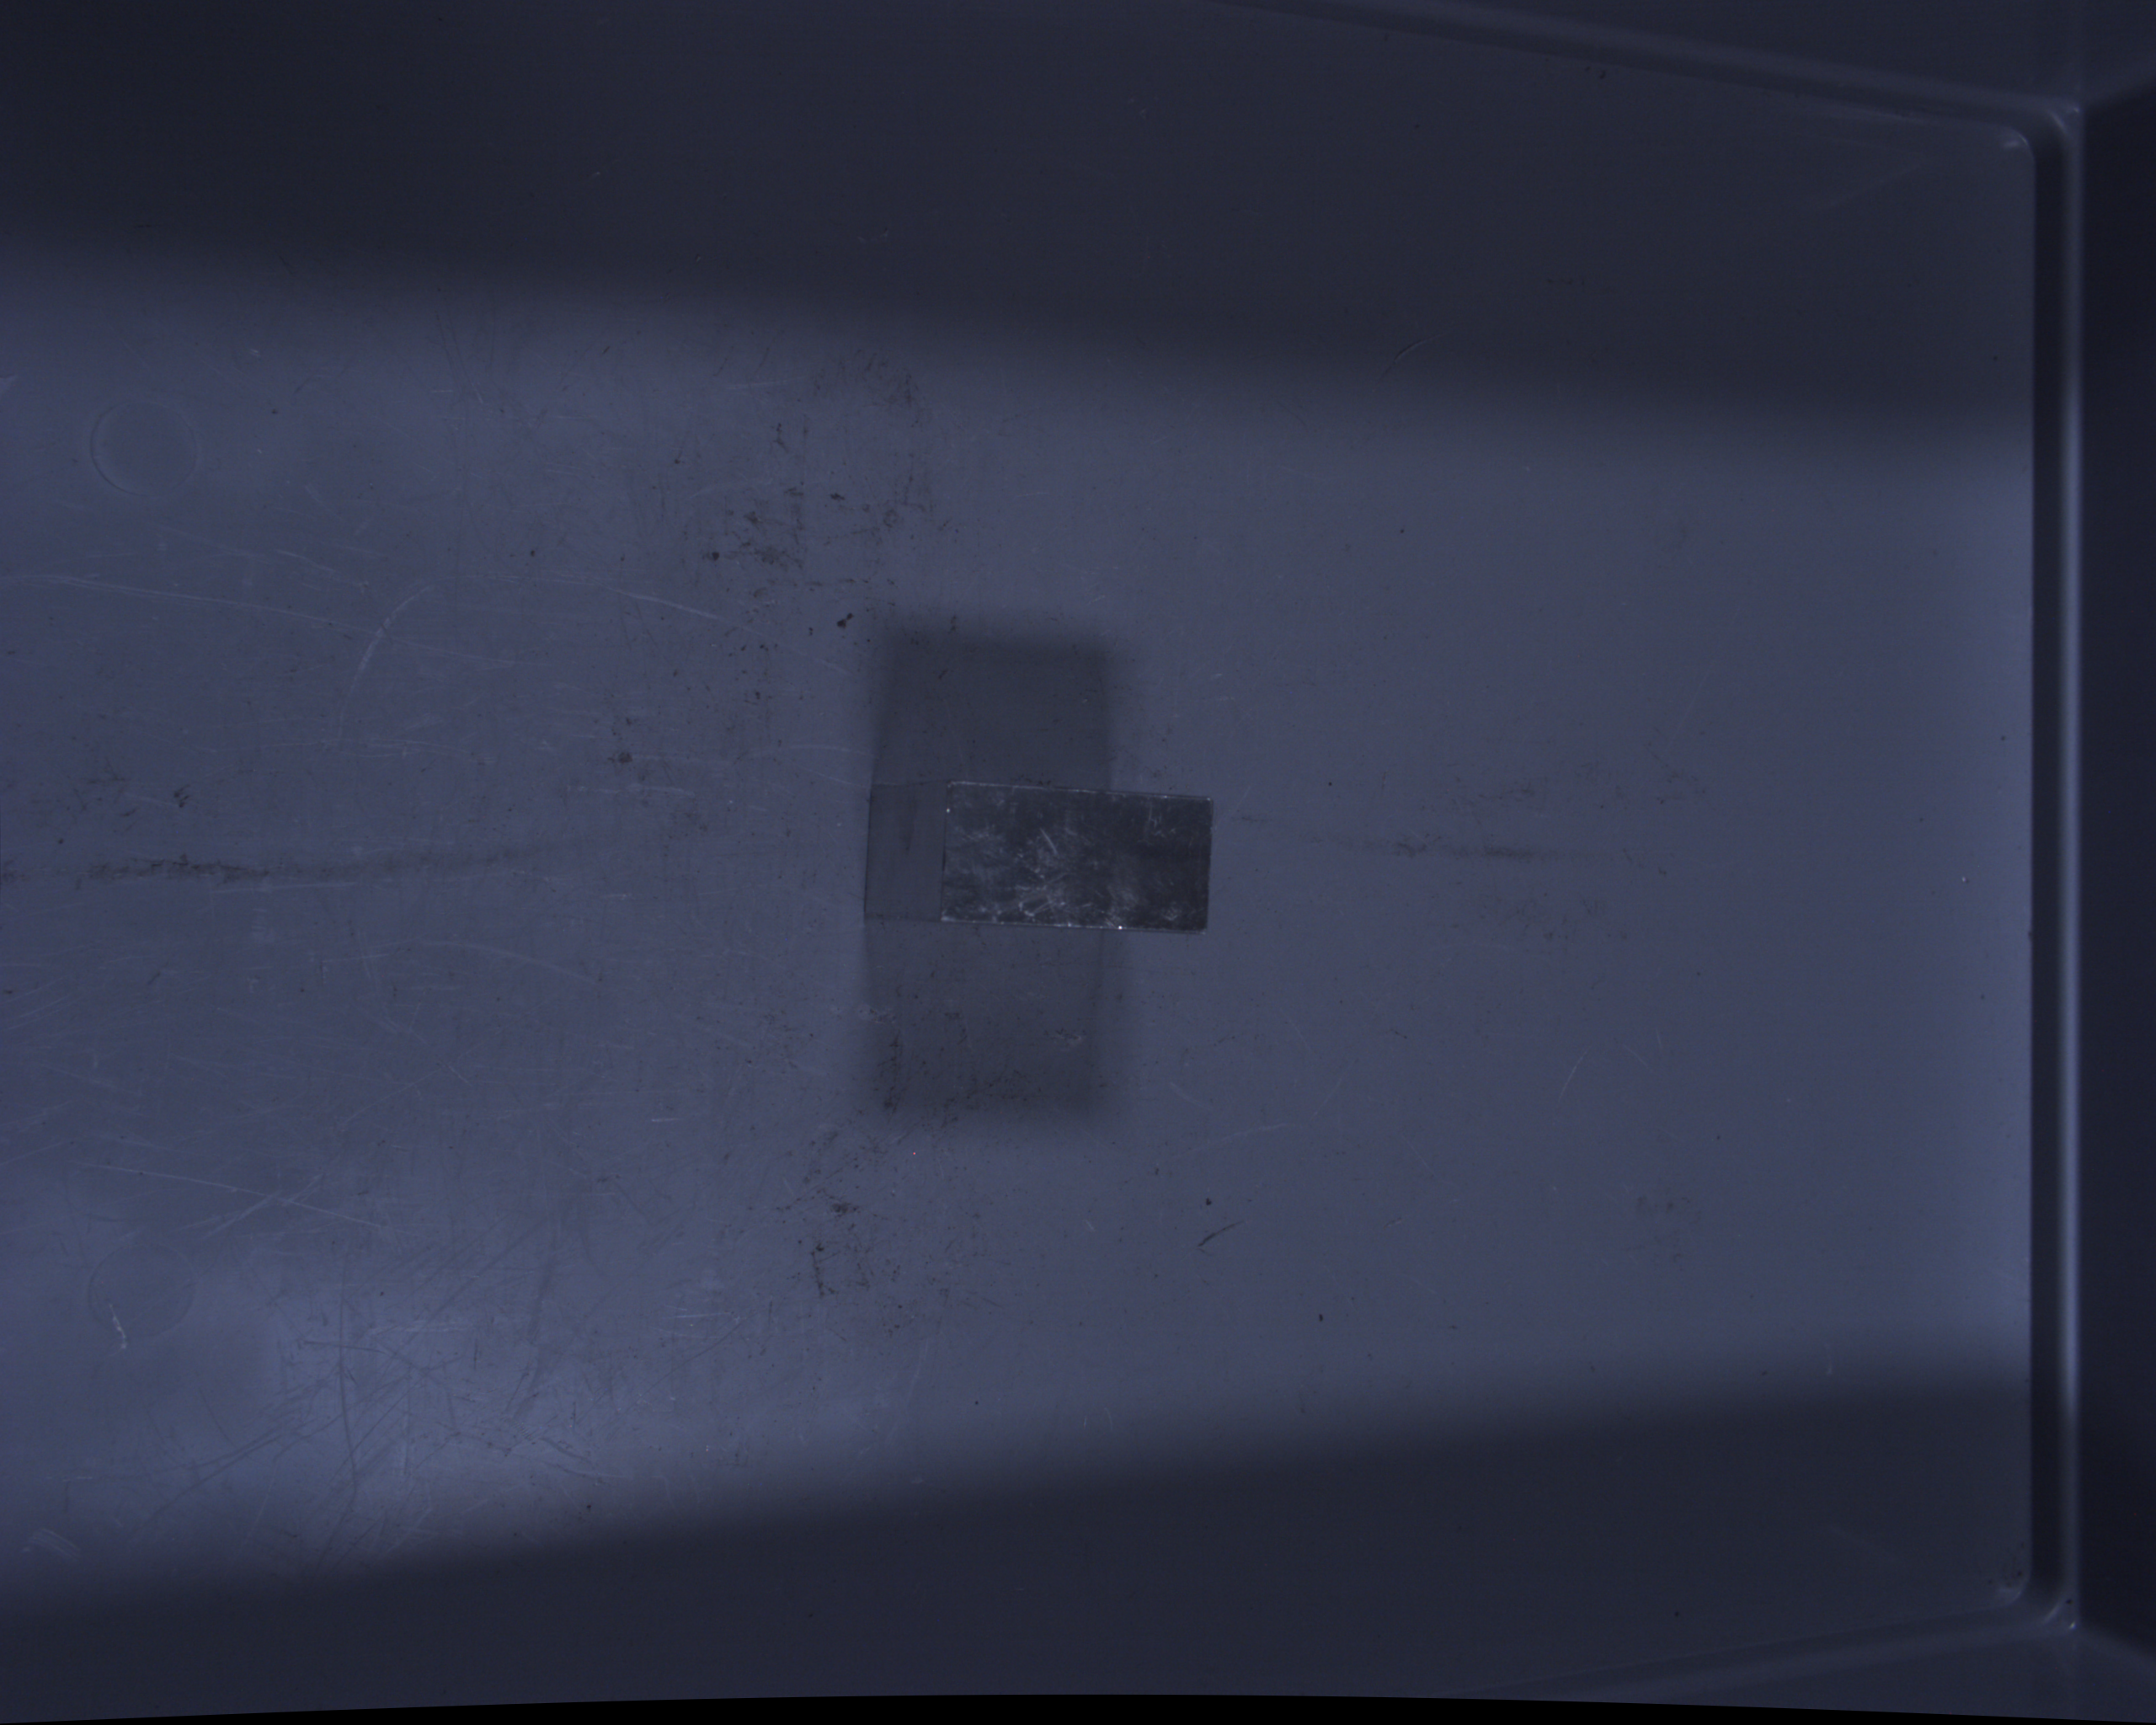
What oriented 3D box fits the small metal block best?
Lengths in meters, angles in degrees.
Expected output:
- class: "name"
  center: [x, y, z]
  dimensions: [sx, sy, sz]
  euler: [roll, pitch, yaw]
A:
- class: "small metal block"
  center: [-0.008, -0.001, 0.391]
  dimensions: [0.050, 0.050, 0.025]
  euler: [3, 89, -20]
